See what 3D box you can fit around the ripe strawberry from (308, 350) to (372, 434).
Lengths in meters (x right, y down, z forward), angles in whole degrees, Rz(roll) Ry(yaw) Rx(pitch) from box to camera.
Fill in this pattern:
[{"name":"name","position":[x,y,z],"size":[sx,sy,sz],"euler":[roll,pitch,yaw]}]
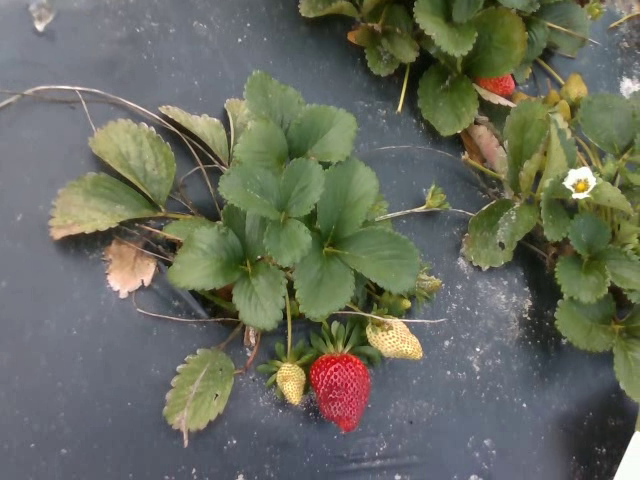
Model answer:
[{"name":"ripe strawberry","position":[0.015,0.105,0.389],"size":[0.046,0.046,0.059],"euler":[0,44,-10]}]
